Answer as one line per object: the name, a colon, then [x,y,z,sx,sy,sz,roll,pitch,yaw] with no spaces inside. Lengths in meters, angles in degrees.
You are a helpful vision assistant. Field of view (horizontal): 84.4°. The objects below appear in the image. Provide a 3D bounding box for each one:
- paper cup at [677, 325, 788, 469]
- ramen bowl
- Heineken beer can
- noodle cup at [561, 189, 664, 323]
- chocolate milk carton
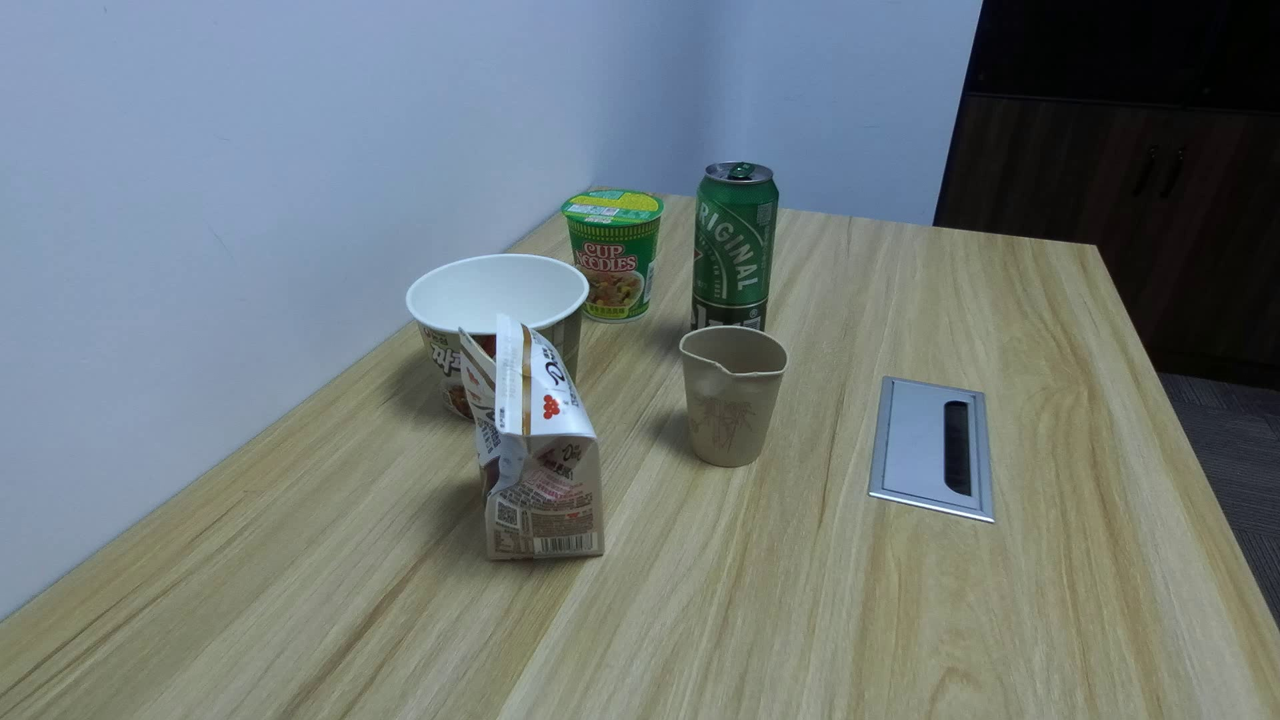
paper cup: [0.064,0.027,0.508,0.073,0.081,0.068,-5,31,-10]
ramen bowl: [-0.109,-0.017,0.577,0.140,0.095,0.140,1,31,0]
Heineken beer can: [0.079,-0.078,0.602,0.067,0.169,0.067,0,31,0]
noodle cup: [-0.023,-0.099,0.692,0.097,0.110,0.097,-1,31,1]
chocolate milk carton: [-0.064,0.050,0.423,0.077,0.156,0.089,-7,45,-5]
